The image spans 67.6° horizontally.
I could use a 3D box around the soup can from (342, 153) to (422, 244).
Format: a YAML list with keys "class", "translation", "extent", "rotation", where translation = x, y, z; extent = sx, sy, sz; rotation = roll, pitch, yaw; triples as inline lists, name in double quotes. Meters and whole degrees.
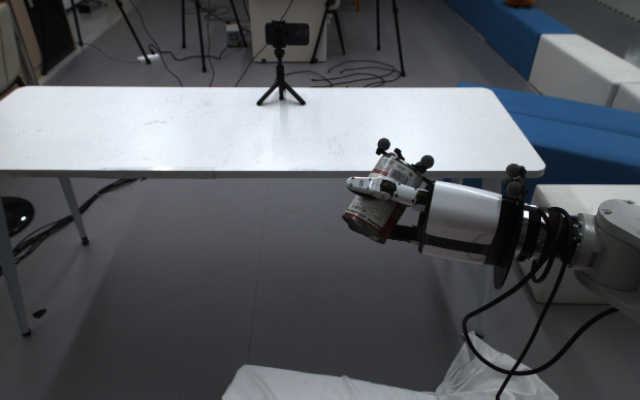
- class: "soup can"
  translation: [0.084, -0.003, 0.653]
  extent: [0.067, 0.067, 0.101]
  rotation: [27, 78, 32]
